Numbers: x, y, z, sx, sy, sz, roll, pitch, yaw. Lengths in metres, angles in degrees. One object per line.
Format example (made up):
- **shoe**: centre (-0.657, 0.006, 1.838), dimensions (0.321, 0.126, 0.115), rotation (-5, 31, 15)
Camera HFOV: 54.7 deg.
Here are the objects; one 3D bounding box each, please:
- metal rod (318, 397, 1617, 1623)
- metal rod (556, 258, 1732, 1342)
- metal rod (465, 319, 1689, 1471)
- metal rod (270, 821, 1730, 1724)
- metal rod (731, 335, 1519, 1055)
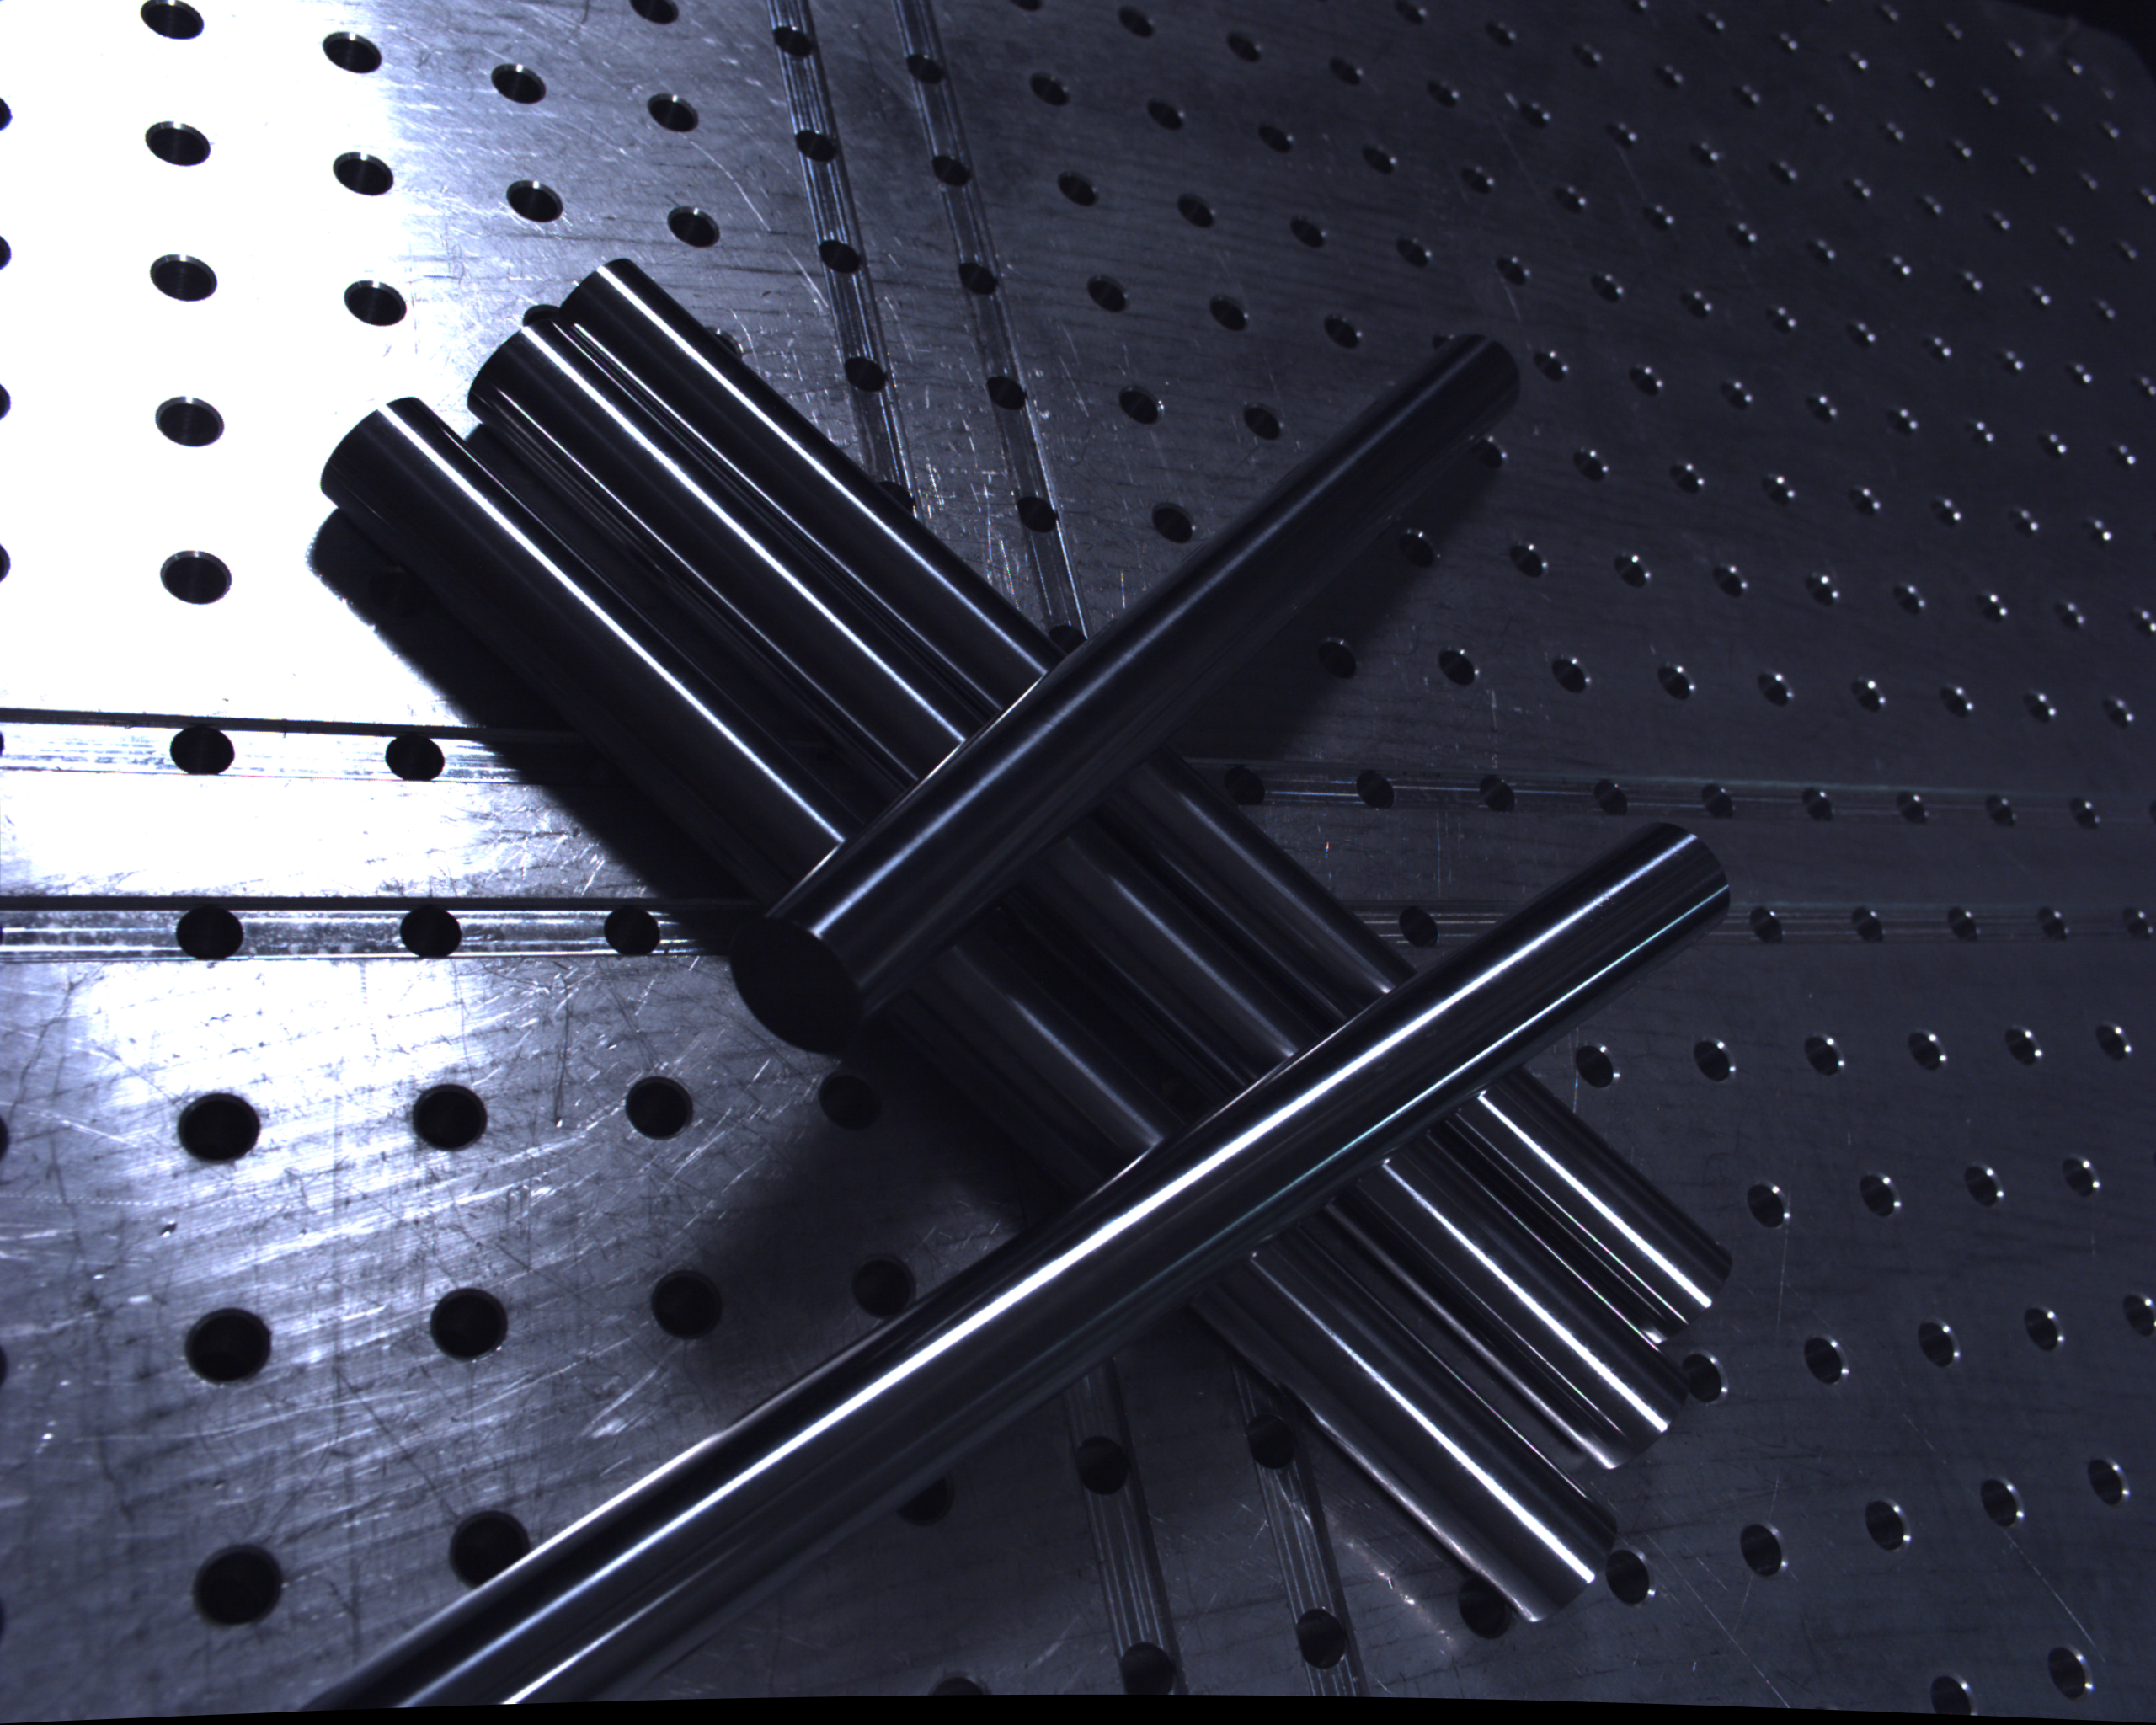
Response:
- **metal rod**: centre (-0.021, 0.026, 0.382), dimensions (0.300, 0.025, 0.025), rotation (43, 51, 1)
- **metal rod**: centre (0.012, -0.012, 0.424), dimensions (0.300, 0.025, 0.025), rotation (42, 51, 0)
- **metal rod**: centre (-0.001, 0.005, 0.405), dimensions (0.300, 0.025, 0.025), rotation (43, 51, 1)
- **metal rod**: centre (0.005, 0.067, 0.345), dimensions (0.302, 0.025, 0.025), rotation (-29, 78, -29)
- **metal rod**: centre (0.030, -0.053, 0.432), dimensions (0.025, 0.025, 0.302), rotation (44, 43, 1)
